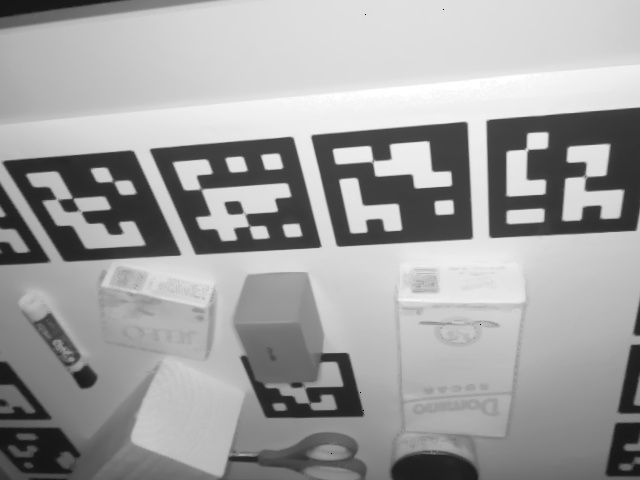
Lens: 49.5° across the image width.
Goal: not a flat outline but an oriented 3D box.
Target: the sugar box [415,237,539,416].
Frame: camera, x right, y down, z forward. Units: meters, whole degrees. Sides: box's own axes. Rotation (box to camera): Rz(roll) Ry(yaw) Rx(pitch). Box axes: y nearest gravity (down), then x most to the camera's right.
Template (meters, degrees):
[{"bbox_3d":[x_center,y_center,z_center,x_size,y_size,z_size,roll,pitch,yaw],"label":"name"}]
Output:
[{"bbox_3d":[0.125,0.077,0.583,0.092,0.046,0.175,0,128,7],"label":"sugar box"}]

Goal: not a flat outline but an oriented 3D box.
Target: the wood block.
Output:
[{"bbox_3d":[-0.170,0.196,0.683,0.090,0.092,0.203,32,126,-18],"label":"wood block"}]

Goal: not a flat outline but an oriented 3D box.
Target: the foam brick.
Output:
[{"bbox_3d":[-0.022,0.049,0.567,0.052,0.052,0.077,-2,127,8],"label":"foam brick"}]

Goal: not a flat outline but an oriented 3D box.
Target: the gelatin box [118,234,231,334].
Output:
[{"bbox_3d":[-0.124,0.039,0.589,0.089,0.030,0.072,11,128,-3],"label":"gelatin box"}]

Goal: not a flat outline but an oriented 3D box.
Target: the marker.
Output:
[{"bbox_3d":[-0.225,0.074,0.632,0.019,0.020,0.120,-2,125,9],"label":"marker"}]

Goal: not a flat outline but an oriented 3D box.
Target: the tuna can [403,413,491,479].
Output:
[{"bbox_3d":[0.126,0.209,0.689,0.086,0.034,0.085,3,127,4],"label":"tuna can"}]

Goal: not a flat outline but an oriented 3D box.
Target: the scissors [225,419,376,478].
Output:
[{"bbox_3d":[-0.042,0.218,0.729,0.203,0.016,0.087,1,128,3],"label":"scissors"}]
